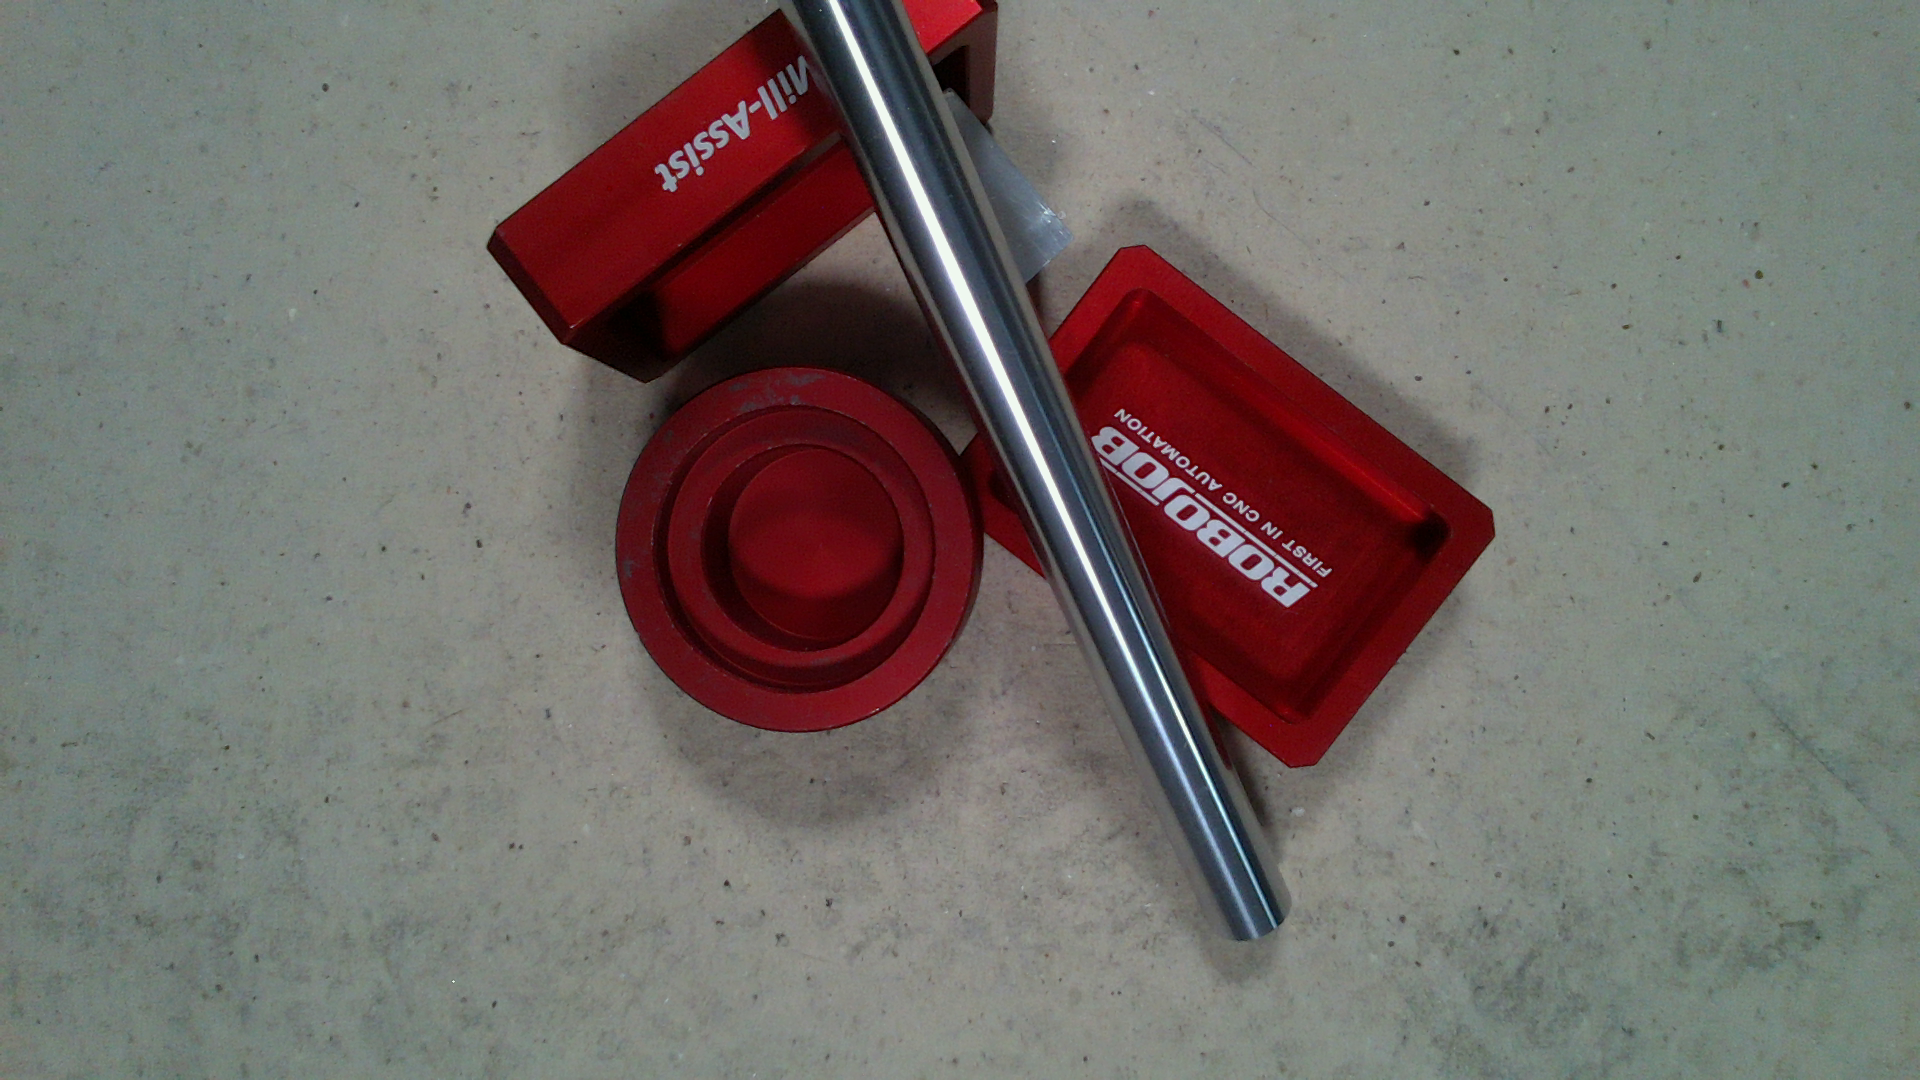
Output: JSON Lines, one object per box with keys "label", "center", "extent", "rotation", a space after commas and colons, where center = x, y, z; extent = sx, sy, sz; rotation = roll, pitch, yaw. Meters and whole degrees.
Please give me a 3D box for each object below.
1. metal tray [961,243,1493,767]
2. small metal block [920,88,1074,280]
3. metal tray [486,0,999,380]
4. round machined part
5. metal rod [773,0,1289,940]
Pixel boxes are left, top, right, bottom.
{"label": "metal tray", "center": [0.071, -0.010, 0.393], "extent": [0.130, 0.030, 0.090], "rotation": [38, 90, 0]}
{"label": "small metal block", "center": [0.001, -0.094, 0.378], "extent": [0.025, 0.050, 0.050], "rotation": [-43, 104, 3]}
{"label": "metal tray", "center": [-0.051, -0.097, 0.362], "extent": [0.130, 0.090, 0.030], "rotation": [-38, 90, 0]}
{"label": "round machined part", "center": [-0.042, 0.002, 0.383], "extent": [0.098, 0.042, 0.098], "rotation": [0, 93, 6]}
{"label": "metal rod", "center": [0.022, -0.018, 0.342], "extent": [0.025, 0.025, 0.300], "rotation": [-26, 112, 0]}
